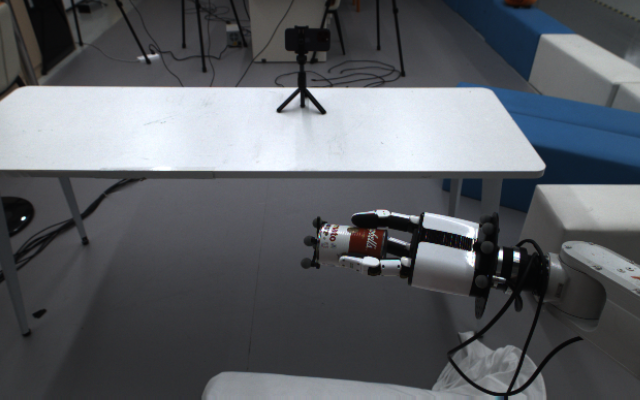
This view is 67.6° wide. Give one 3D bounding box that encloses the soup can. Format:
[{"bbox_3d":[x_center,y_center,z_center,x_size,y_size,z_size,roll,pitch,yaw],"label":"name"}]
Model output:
[{"bbox_3d":[0.054,0.075,0.756,0.101,0.067,0.067,5,35,13],"label":"soup can"}]
